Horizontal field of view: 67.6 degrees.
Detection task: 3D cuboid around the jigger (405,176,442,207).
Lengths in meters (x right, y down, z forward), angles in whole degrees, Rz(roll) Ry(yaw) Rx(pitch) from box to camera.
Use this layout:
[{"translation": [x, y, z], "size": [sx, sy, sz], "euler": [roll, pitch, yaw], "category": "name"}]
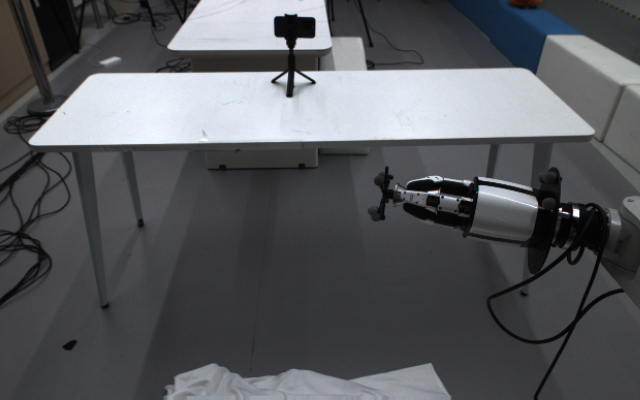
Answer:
[{"translation": [0.157, -0.007, 0.754], "size": [0.071, 0.043, 0.043], "euler": [8, 35, 16], "category": "jigger"}]
